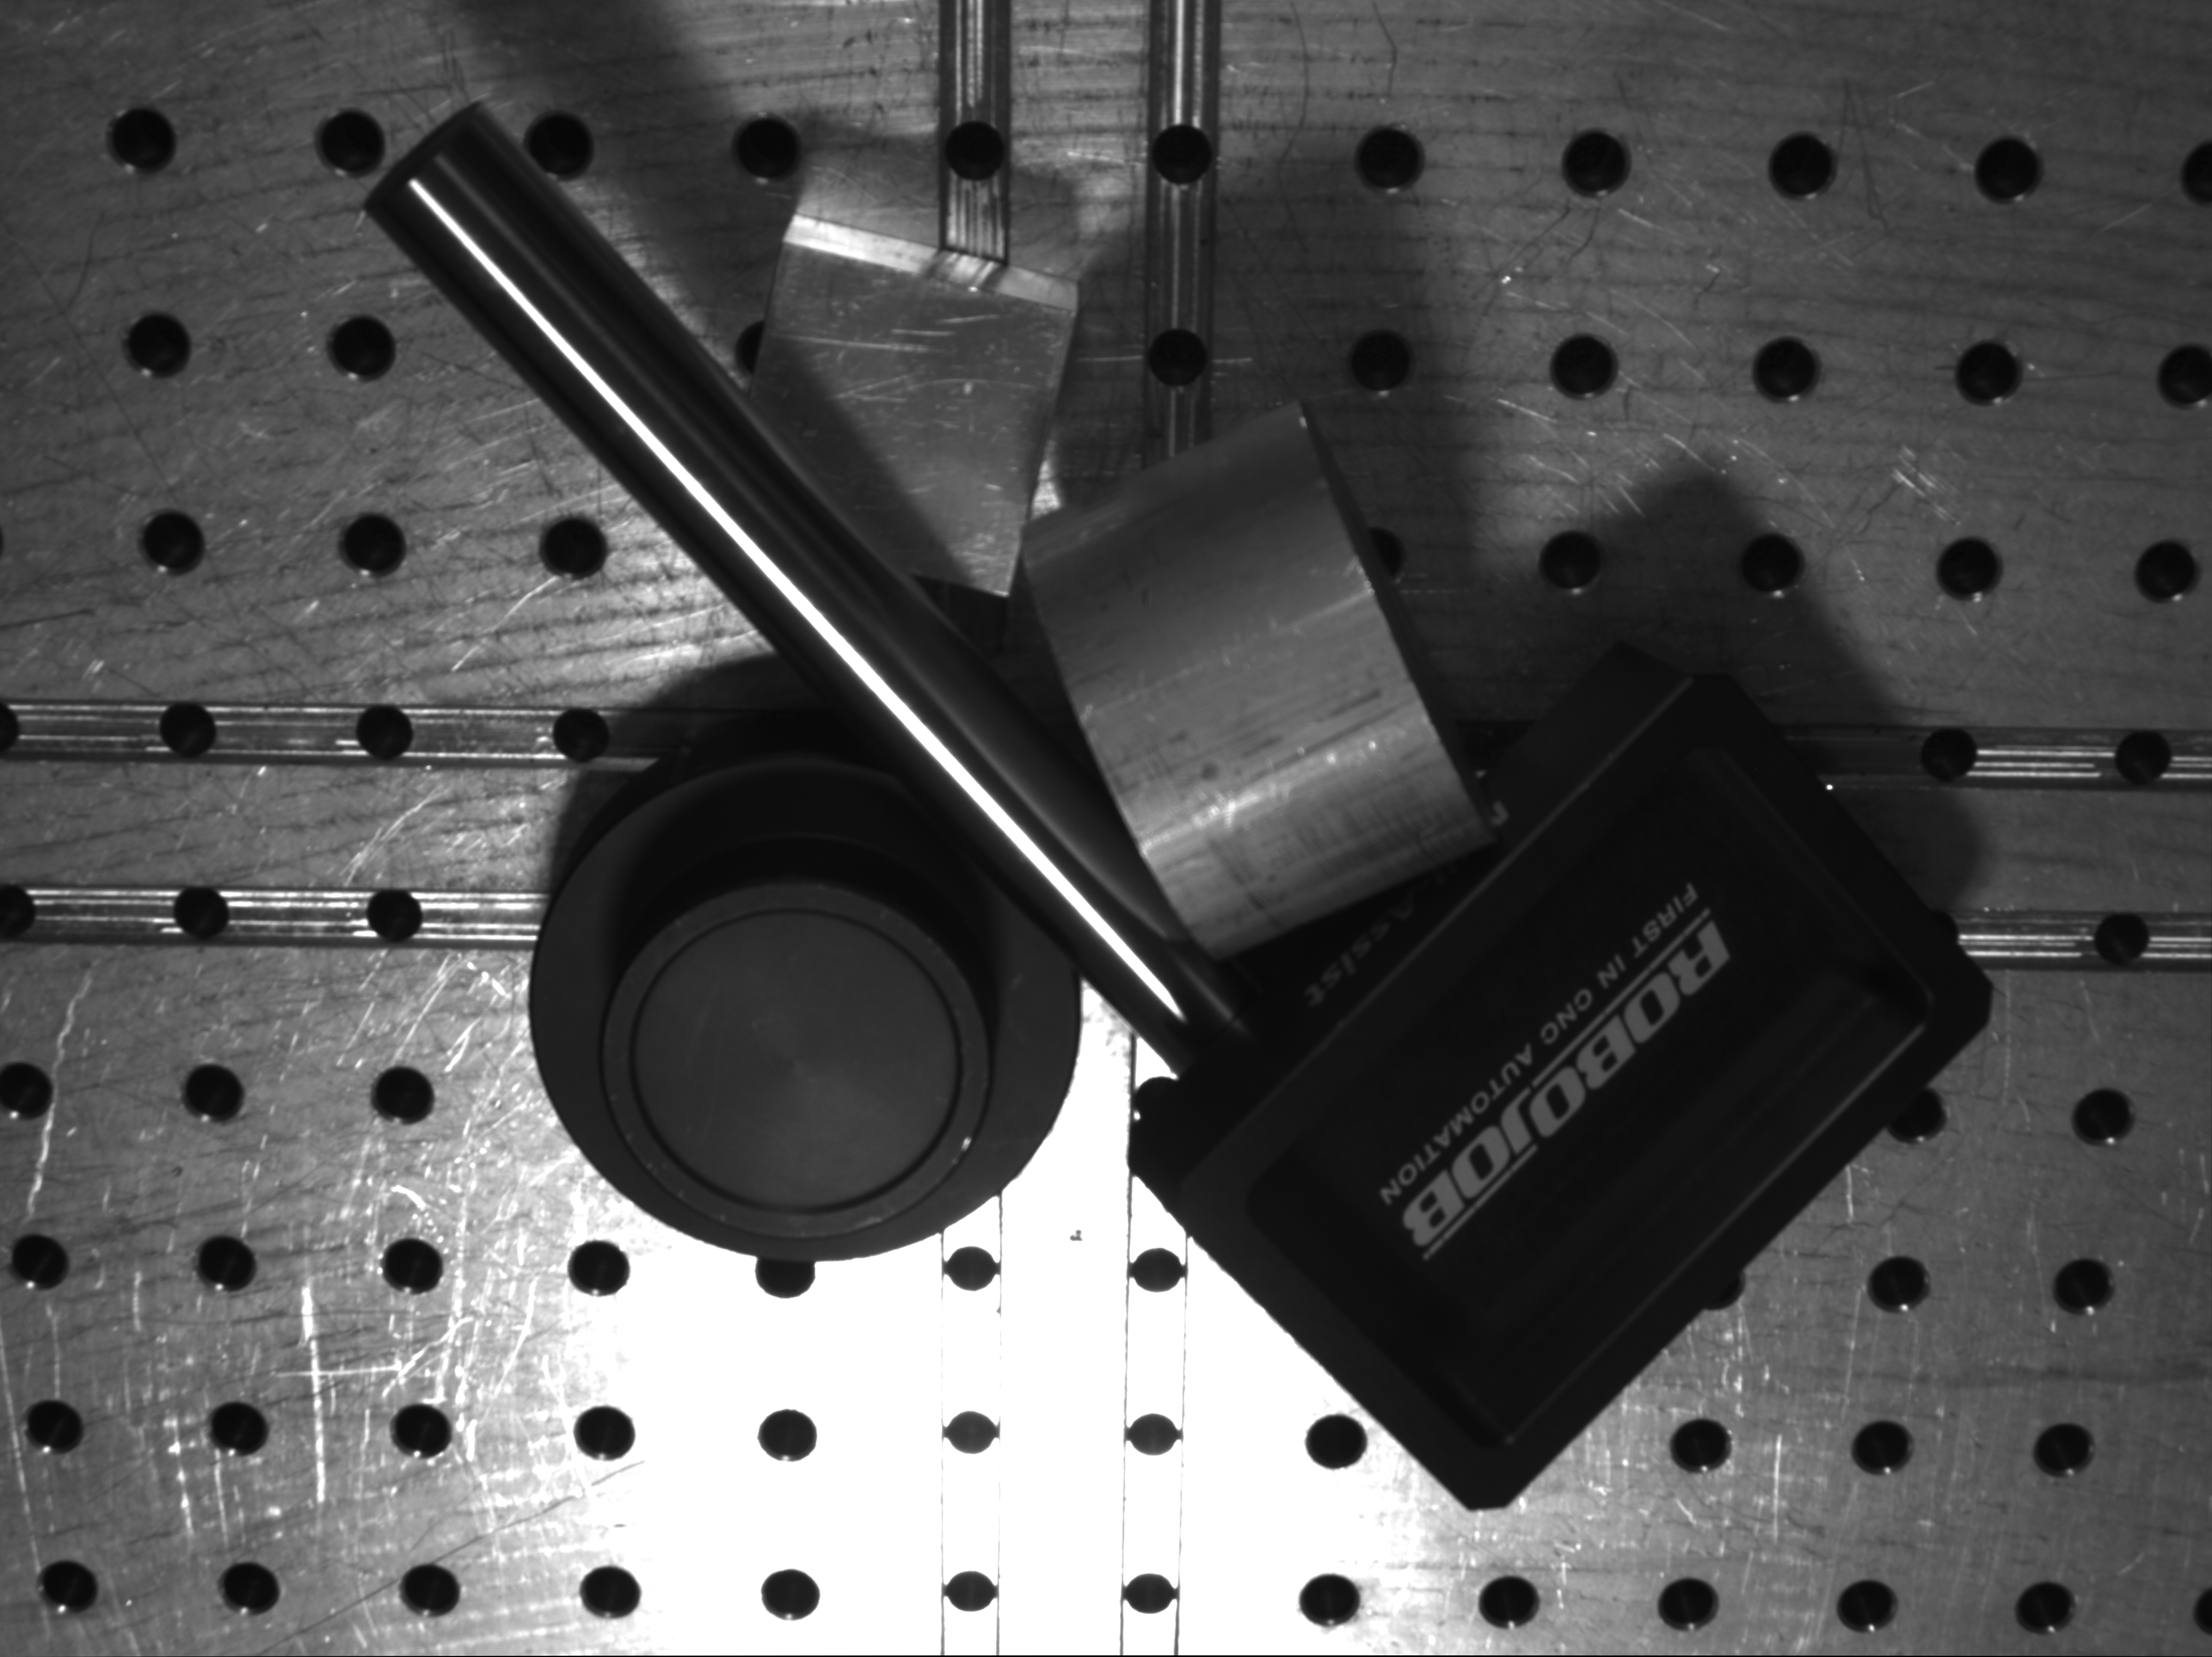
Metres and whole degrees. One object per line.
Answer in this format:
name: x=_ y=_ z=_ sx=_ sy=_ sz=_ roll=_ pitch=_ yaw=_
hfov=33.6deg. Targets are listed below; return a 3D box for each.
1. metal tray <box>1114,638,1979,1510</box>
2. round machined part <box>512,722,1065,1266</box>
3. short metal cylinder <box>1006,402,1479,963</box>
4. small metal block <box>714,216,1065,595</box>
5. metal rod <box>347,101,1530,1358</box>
metal tray: x=0.077 y=0.043 z=0.637 sx=0.130 sy=0.030 sz=0.090 roll=-45 pitch=113 yaw=-2
round machined part: x=-0.056 y=0.034 z=0.647 sx=0.098 sy=0.042 sz=0.098 roll=0 pitch=110 yaw=-1
short metal cylinder: x=0.023 y=-0.024 z=0.608 sx=0.050 sy=0.080 sz=0.080 roll=-24 pitch=108 yaw=8
small metal block: x=-0.037 y=-0.072 z=0.619 sx=0.050 sy=0.025 sz=0.050 roll=12 pitch=109 yaw=-5
metal rod: x=-0.014 y=-0.003 z=0.626 sx=0.025 sy=0.025 sz=0.301 roll=-38 pitch=114 yaw=12
